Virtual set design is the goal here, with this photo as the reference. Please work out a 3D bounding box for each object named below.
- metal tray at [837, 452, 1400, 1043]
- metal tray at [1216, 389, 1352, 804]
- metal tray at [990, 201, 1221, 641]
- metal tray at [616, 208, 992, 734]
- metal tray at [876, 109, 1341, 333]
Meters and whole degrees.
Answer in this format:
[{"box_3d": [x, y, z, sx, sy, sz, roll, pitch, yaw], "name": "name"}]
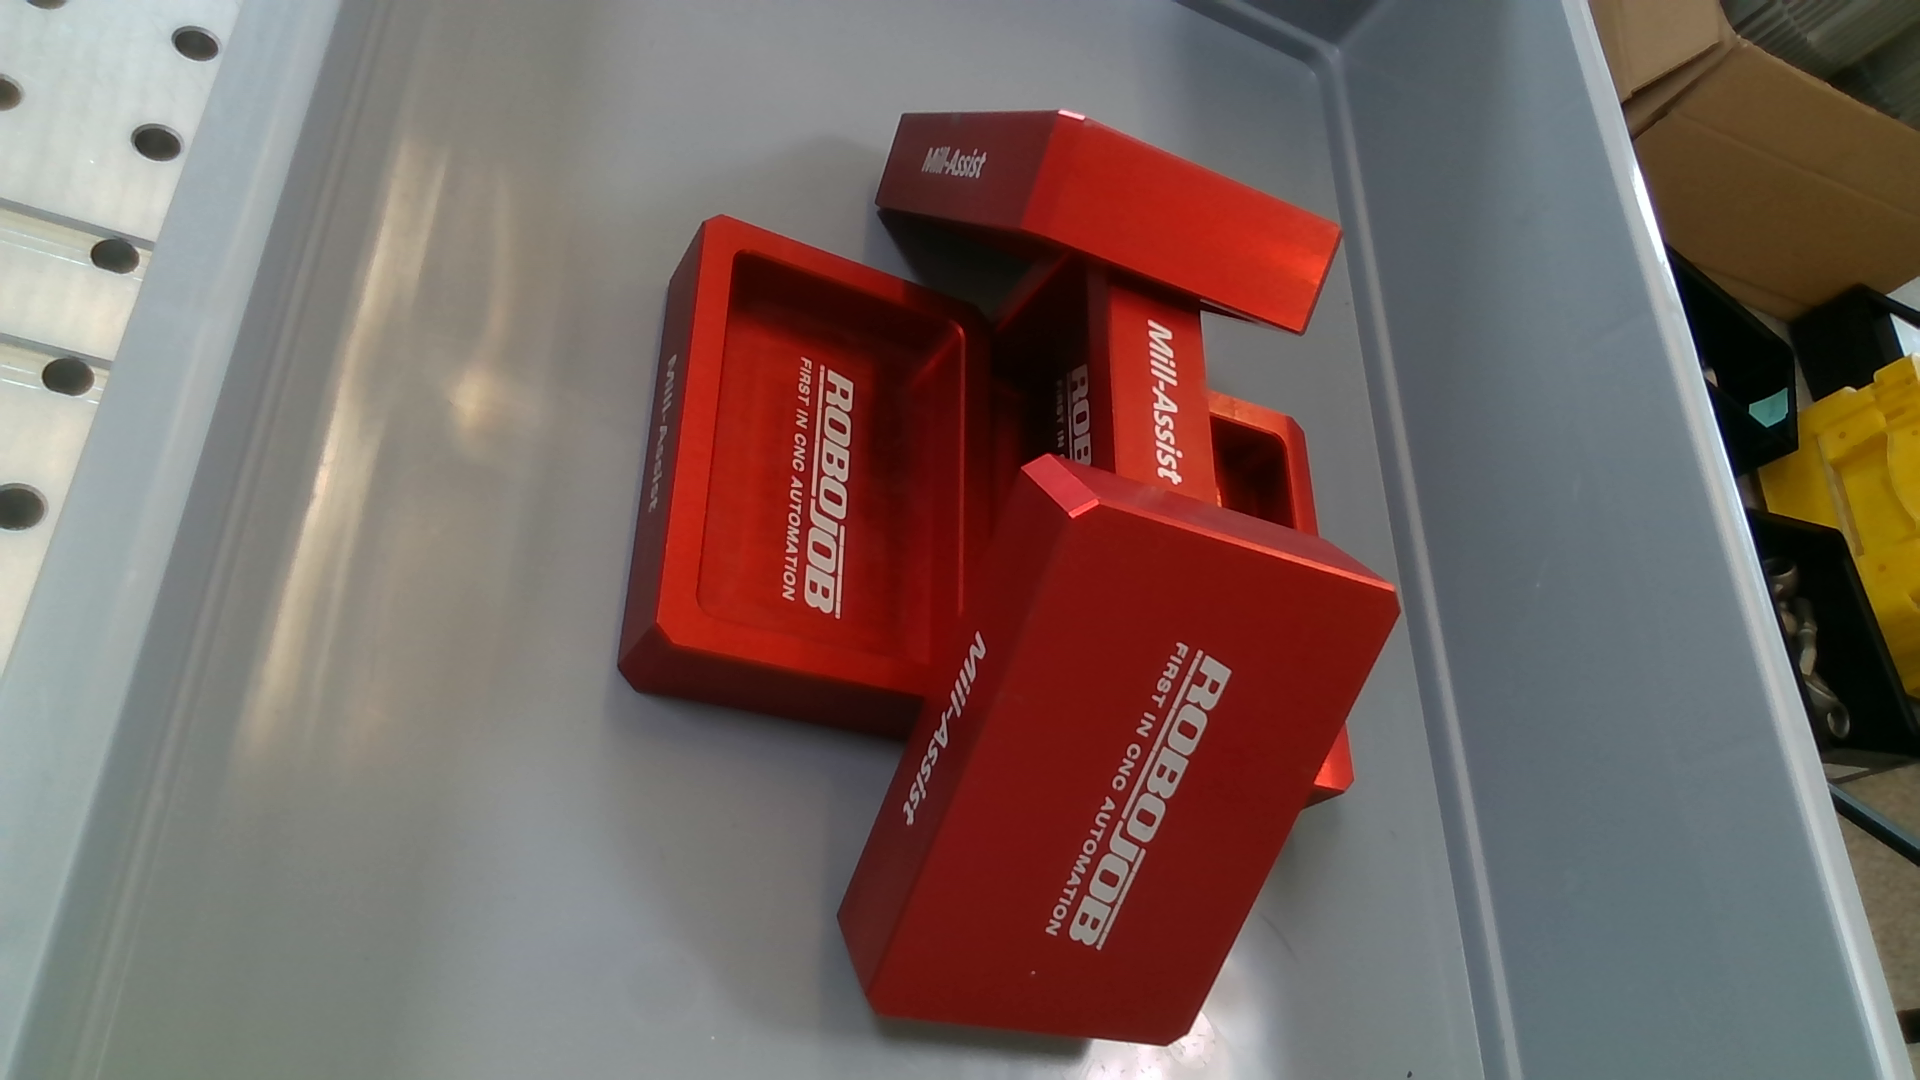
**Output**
[{"box_3d": [0.036, 0.054, 0.326, 0.090, 0.130, 0.030, 15, 16, -25], "name": "metal tray"}, {"box_3d": [0.069, 0.012, 0.424, 0.090, 0.030, 0.130, 14, 60, -25], "name": "metal tray"}, {"box_3d": [0.029, -0.017, 0.377, 0.030, 0.090, 0.130, 15, 59, -25], "name": "metal tray"}, {"box_3d": [-0.038, -0.018, 0.373, 0.090, 0.030, 0.130, 15, 59, -25], "name": "metal tray"}, {"box_3d": [0.037, -0.096, 0.407, 0.090, 0.130, 0.030, 15, 100, -25], "name": "metal tray"}]
